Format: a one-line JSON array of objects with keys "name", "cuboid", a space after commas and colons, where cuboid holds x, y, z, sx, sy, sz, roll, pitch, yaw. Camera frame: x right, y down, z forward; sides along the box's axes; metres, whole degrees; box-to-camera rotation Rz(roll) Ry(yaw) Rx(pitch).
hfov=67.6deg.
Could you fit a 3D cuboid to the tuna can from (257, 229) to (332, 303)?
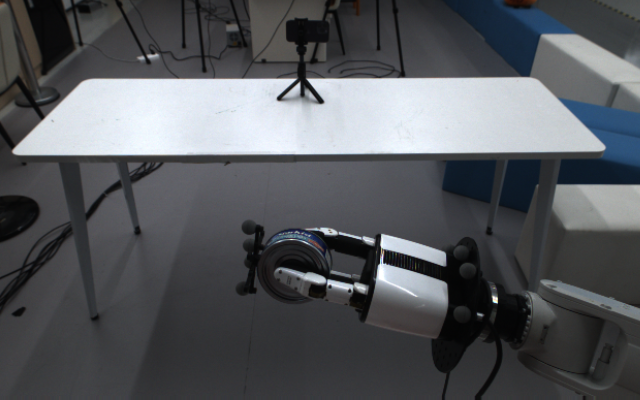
[{"name": "tuna can", "cuboid": [-0.026, 0.081, 0.564, 0.085, 0.085, 0.034, 4, 18, 3]}]
